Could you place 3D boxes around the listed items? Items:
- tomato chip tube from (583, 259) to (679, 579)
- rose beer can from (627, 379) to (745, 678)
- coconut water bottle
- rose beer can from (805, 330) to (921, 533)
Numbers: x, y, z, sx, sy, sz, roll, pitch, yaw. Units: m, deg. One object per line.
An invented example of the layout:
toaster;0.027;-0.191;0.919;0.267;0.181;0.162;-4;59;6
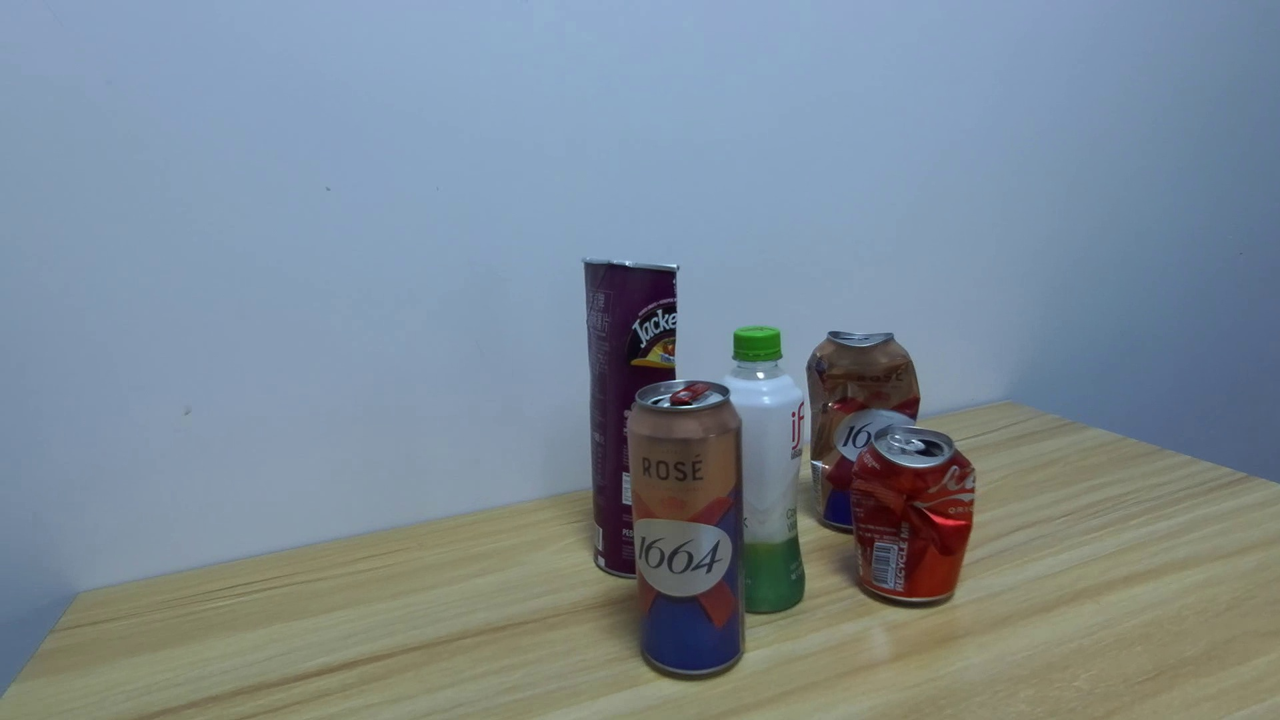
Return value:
tomato chip tube;-0.003;0.043;0.531;0.078;0.235;0.090;-2;11;4
rose beer can;0.029;0.101;0.424;0.068;0.169;0.068;-2;15;1
coconut water bottle;0.082;0.074;0.480;0.063;0.188;0.063;-3;13;1
rose beer can;0.179;0.058;0.579;0.074;0.162;0.068;-6;13;-20
